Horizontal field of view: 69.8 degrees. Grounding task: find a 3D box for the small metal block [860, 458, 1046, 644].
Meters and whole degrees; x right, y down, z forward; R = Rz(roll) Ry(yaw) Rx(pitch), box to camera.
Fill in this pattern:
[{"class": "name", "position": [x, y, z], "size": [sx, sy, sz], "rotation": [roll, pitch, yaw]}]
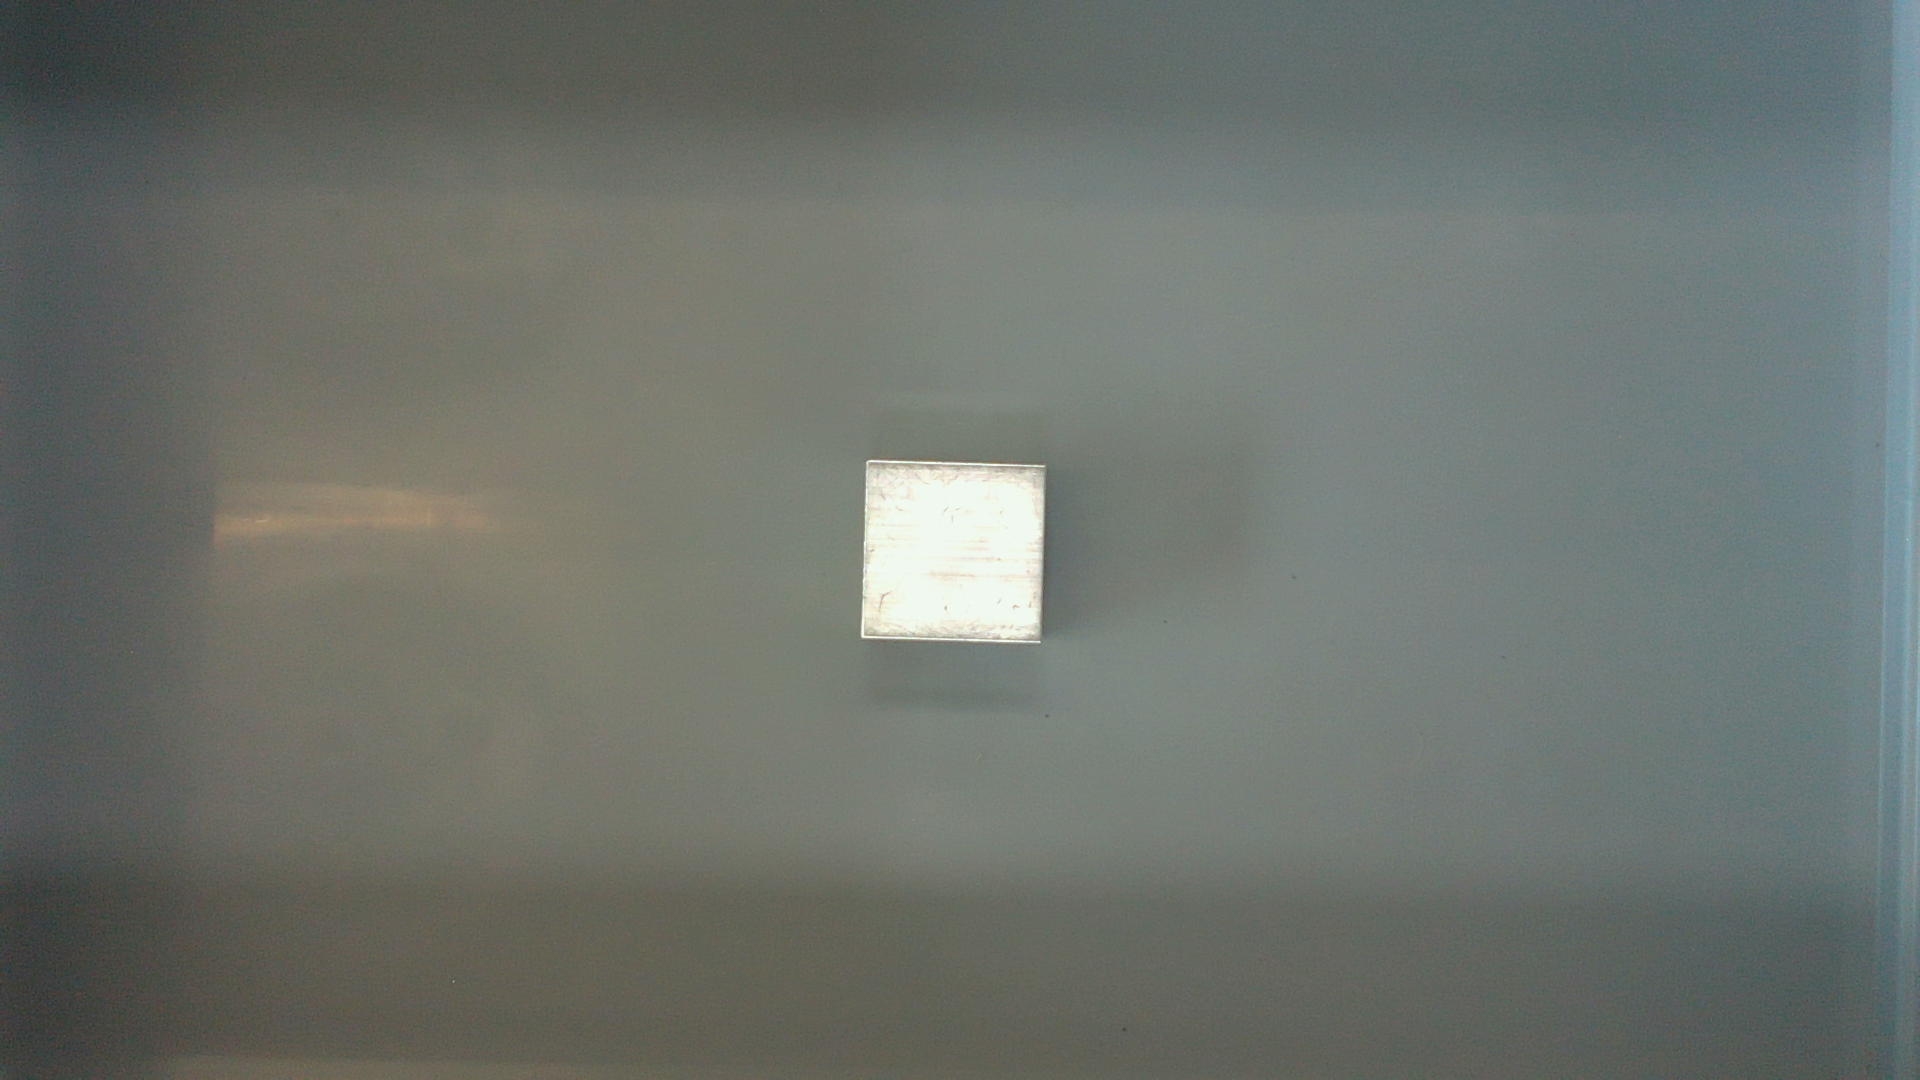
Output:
[{"class": "small metal block", "position": [-0.002, 0.003, 0.392], "size": [0.050, 0.025, 0.050], "rotation": [2, 90, 0]}]
